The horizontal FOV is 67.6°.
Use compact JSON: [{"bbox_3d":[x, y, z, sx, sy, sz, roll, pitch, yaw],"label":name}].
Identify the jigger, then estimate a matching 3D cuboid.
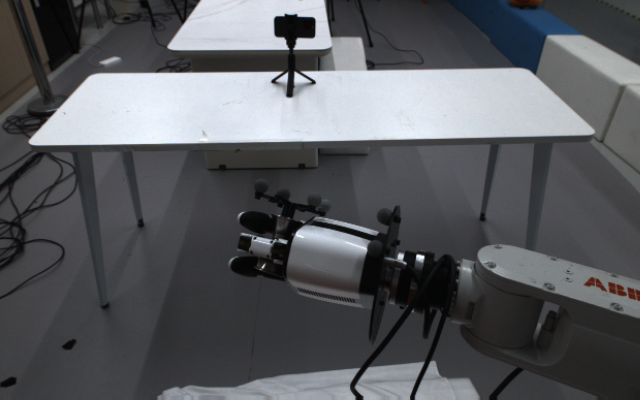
[{"bbox_3d":[-0.046,0.055,0.581,0.043,0.071,0.043,16,-7,2],"label":"jigger"}]
